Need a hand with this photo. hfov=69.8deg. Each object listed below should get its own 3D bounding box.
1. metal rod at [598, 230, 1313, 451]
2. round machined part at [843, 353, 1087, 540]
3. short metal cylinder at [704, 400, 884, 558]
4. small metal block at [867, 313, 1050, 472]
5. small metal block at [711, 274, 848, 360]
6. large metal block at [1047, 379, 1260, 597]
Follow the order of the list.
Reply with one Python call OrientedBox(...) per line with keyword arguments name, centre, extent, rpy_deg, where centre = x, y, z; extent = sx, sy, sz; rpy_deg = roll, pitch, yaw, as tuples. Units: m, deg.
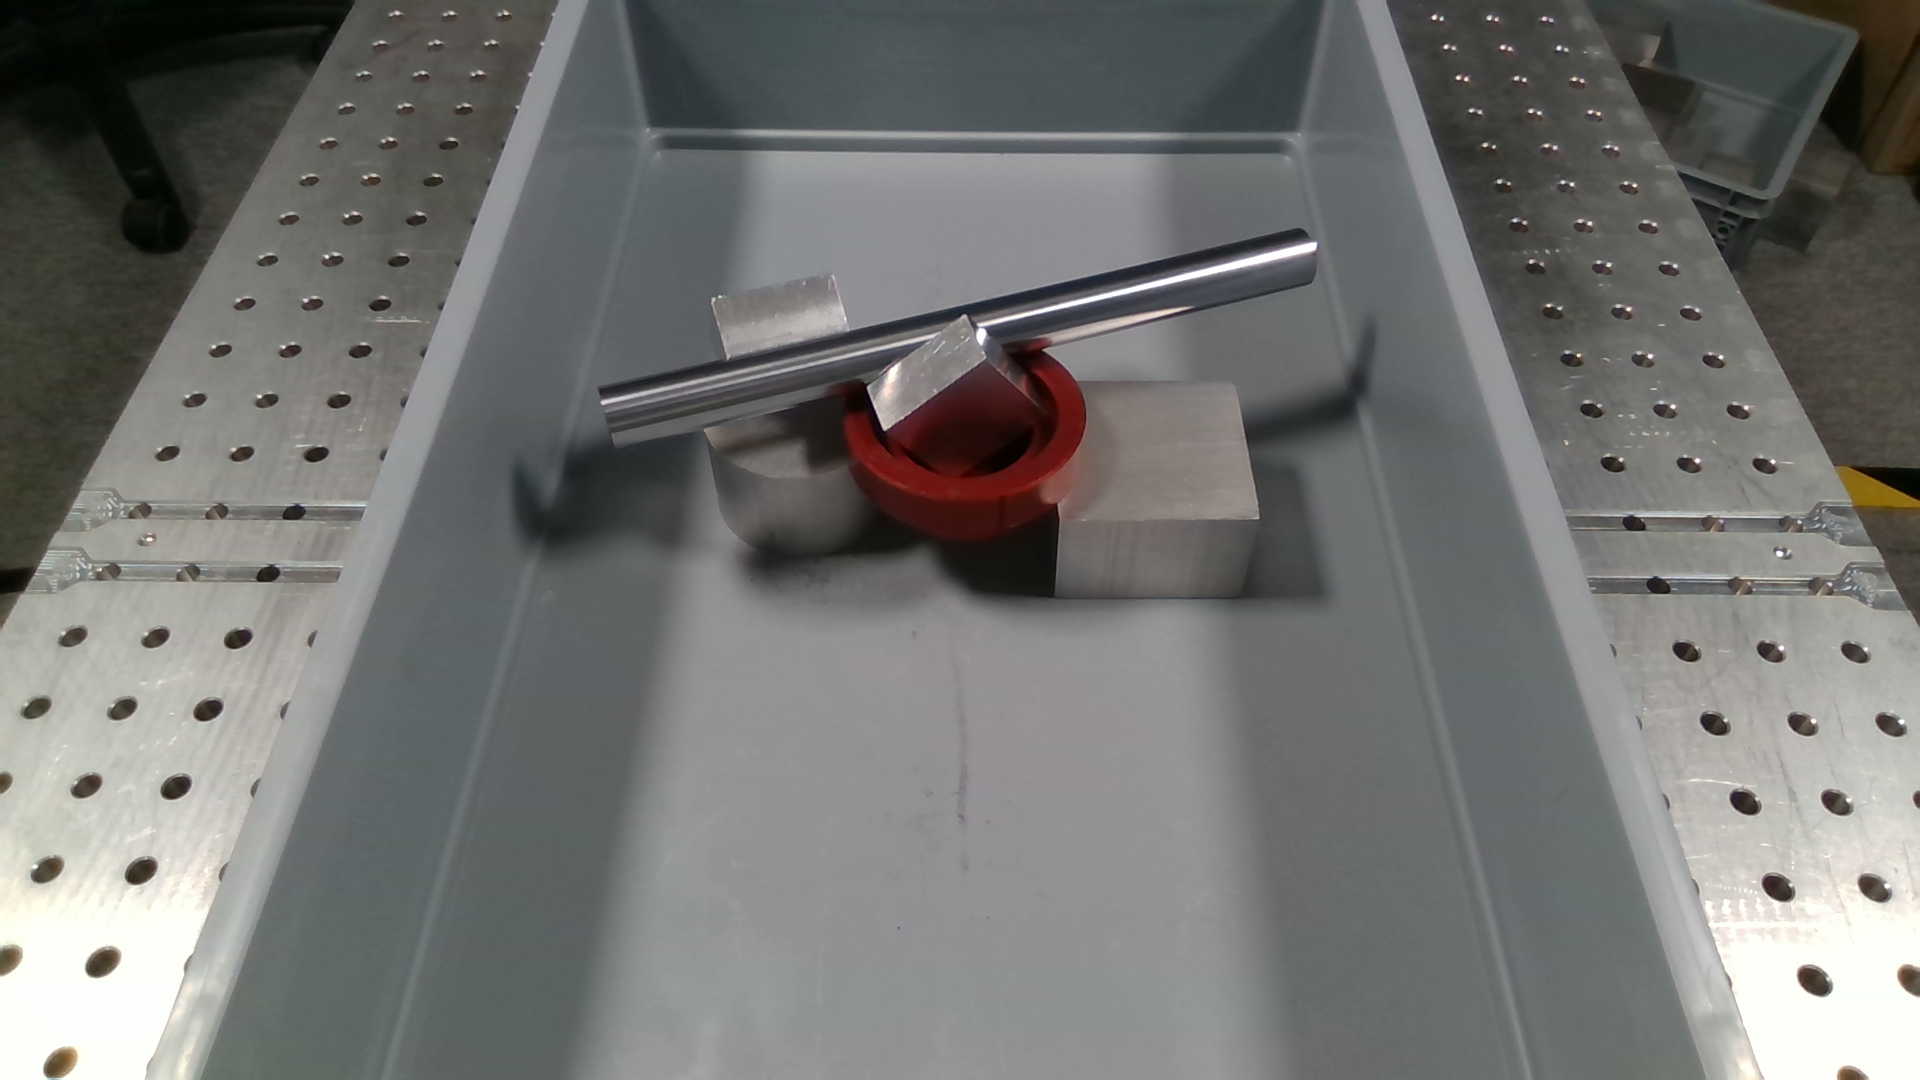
OrientedBox(name="metal rod", centre=(0.005, -0.084, 0.565), extent=(0.300, 0.025, 0.025), rpy_deg=(-15, 52, -12))
OrientedBox(name="round machined part", centre=(0.002, -0.039, 0.569), extent=(0.098, 0.042, 0.098), rpy_deg=(0, 50, 0))
OrientedBox(name="short metal cylinder", centre=(-0.069, -0.039, 0.603), extent=(0.080, 0.050, 0.080), rpy_deg=(0, 50, 0))
OrientedBox(name="small metal block", centre=(0.000, -0.056, 0.553), extent=(0.050, 0.050, 0.025), rpy_deg=(-34, 54, 17))
OrientedBox(name="small metal block", centre=(-0.076, -0.086, 0.573), extent=(0.050, 0.050, 0.025), rpy_deg=(-14, 85, -13))
OrientedBox(name="large metal block", centre=(0.078, -0.023, 0.587), extent=(0.080, 0.050, 0.080), rpy_deg=(0, 50, 0))
